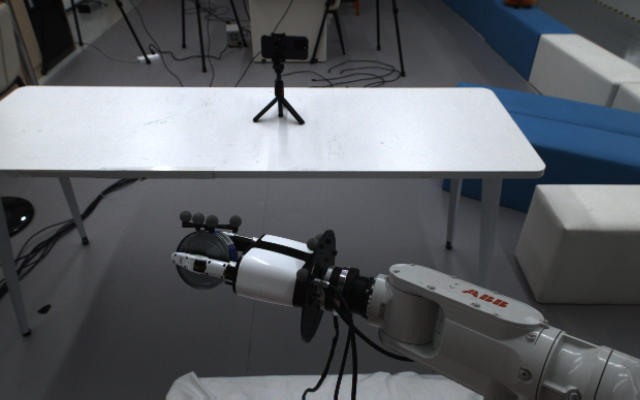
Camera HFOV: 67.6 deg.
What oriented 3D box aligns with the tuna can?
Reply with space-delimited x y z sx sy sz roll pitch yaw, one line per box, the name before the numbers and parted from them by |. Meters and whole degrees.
tuna can | -0.164 0.086 0.705 0.085 0.085 0.034 12 3 14
